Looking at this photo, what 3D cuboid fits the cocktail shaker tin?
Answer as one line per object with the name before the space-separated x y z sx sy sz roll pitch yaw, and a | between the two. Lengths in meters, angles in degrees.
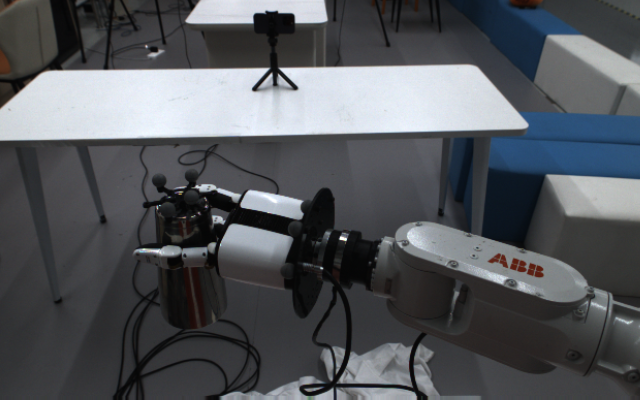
cocktail shaker tin | -0.171 0.078 0.639 0.093 0.170 0.093 2 33 -2
